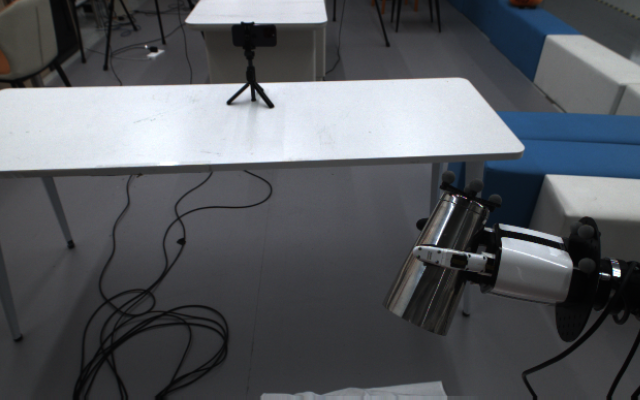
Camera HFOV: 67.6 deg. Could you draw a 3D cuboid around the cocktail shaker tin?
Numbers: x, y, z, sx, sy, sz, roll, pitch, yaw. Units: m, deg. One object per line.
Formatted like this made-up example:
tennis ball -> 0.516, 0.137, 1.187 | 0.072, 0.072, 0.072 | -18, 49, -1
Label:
cocktail shaker tin -> 0.162, 0.078, 0.641 | 0.093, 0.170, 0.093 | 23, -1, 0
